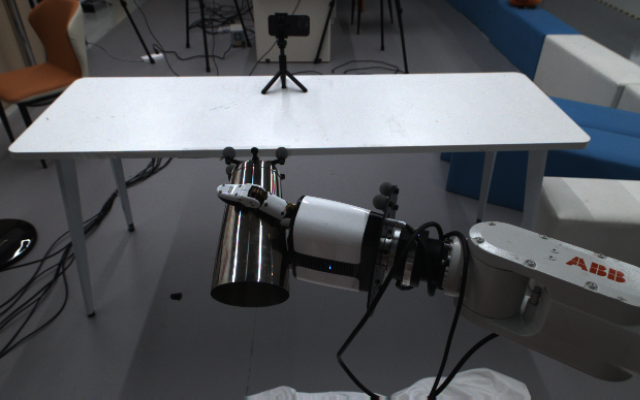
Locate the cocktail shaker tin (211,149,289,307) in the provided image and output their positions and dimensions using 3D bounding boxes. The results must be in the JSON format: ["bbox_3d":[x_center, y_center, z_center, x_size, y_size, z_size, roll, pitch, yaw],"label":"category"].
[{"bbox_3d":[-0.084,0.038,0.601,0.093,0.093,0.170,0,59,-3],"label":"cocktail shaker tin"}]
